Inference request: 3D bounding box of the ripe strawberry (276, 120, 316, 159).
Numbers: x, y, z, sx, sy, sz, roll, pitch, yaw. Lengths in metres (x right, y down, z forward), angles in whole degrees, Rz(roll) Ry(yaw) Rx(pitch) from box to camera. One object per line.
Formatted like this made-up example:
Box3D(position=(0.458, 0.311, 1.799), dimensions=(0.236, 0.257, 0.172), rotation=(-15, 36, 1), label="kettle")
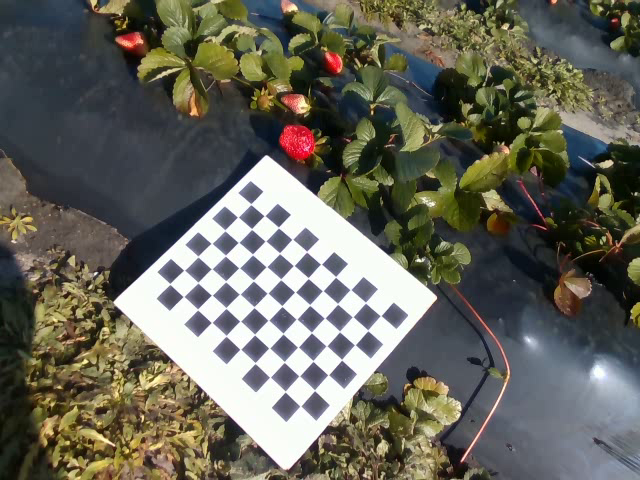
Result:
Box3D(position=(-0.033, -0.131, 0.809), dimensions=(0.058, 0.066, 0.061), rotation=(-13, -19, 23), label="ripe strawberry")
